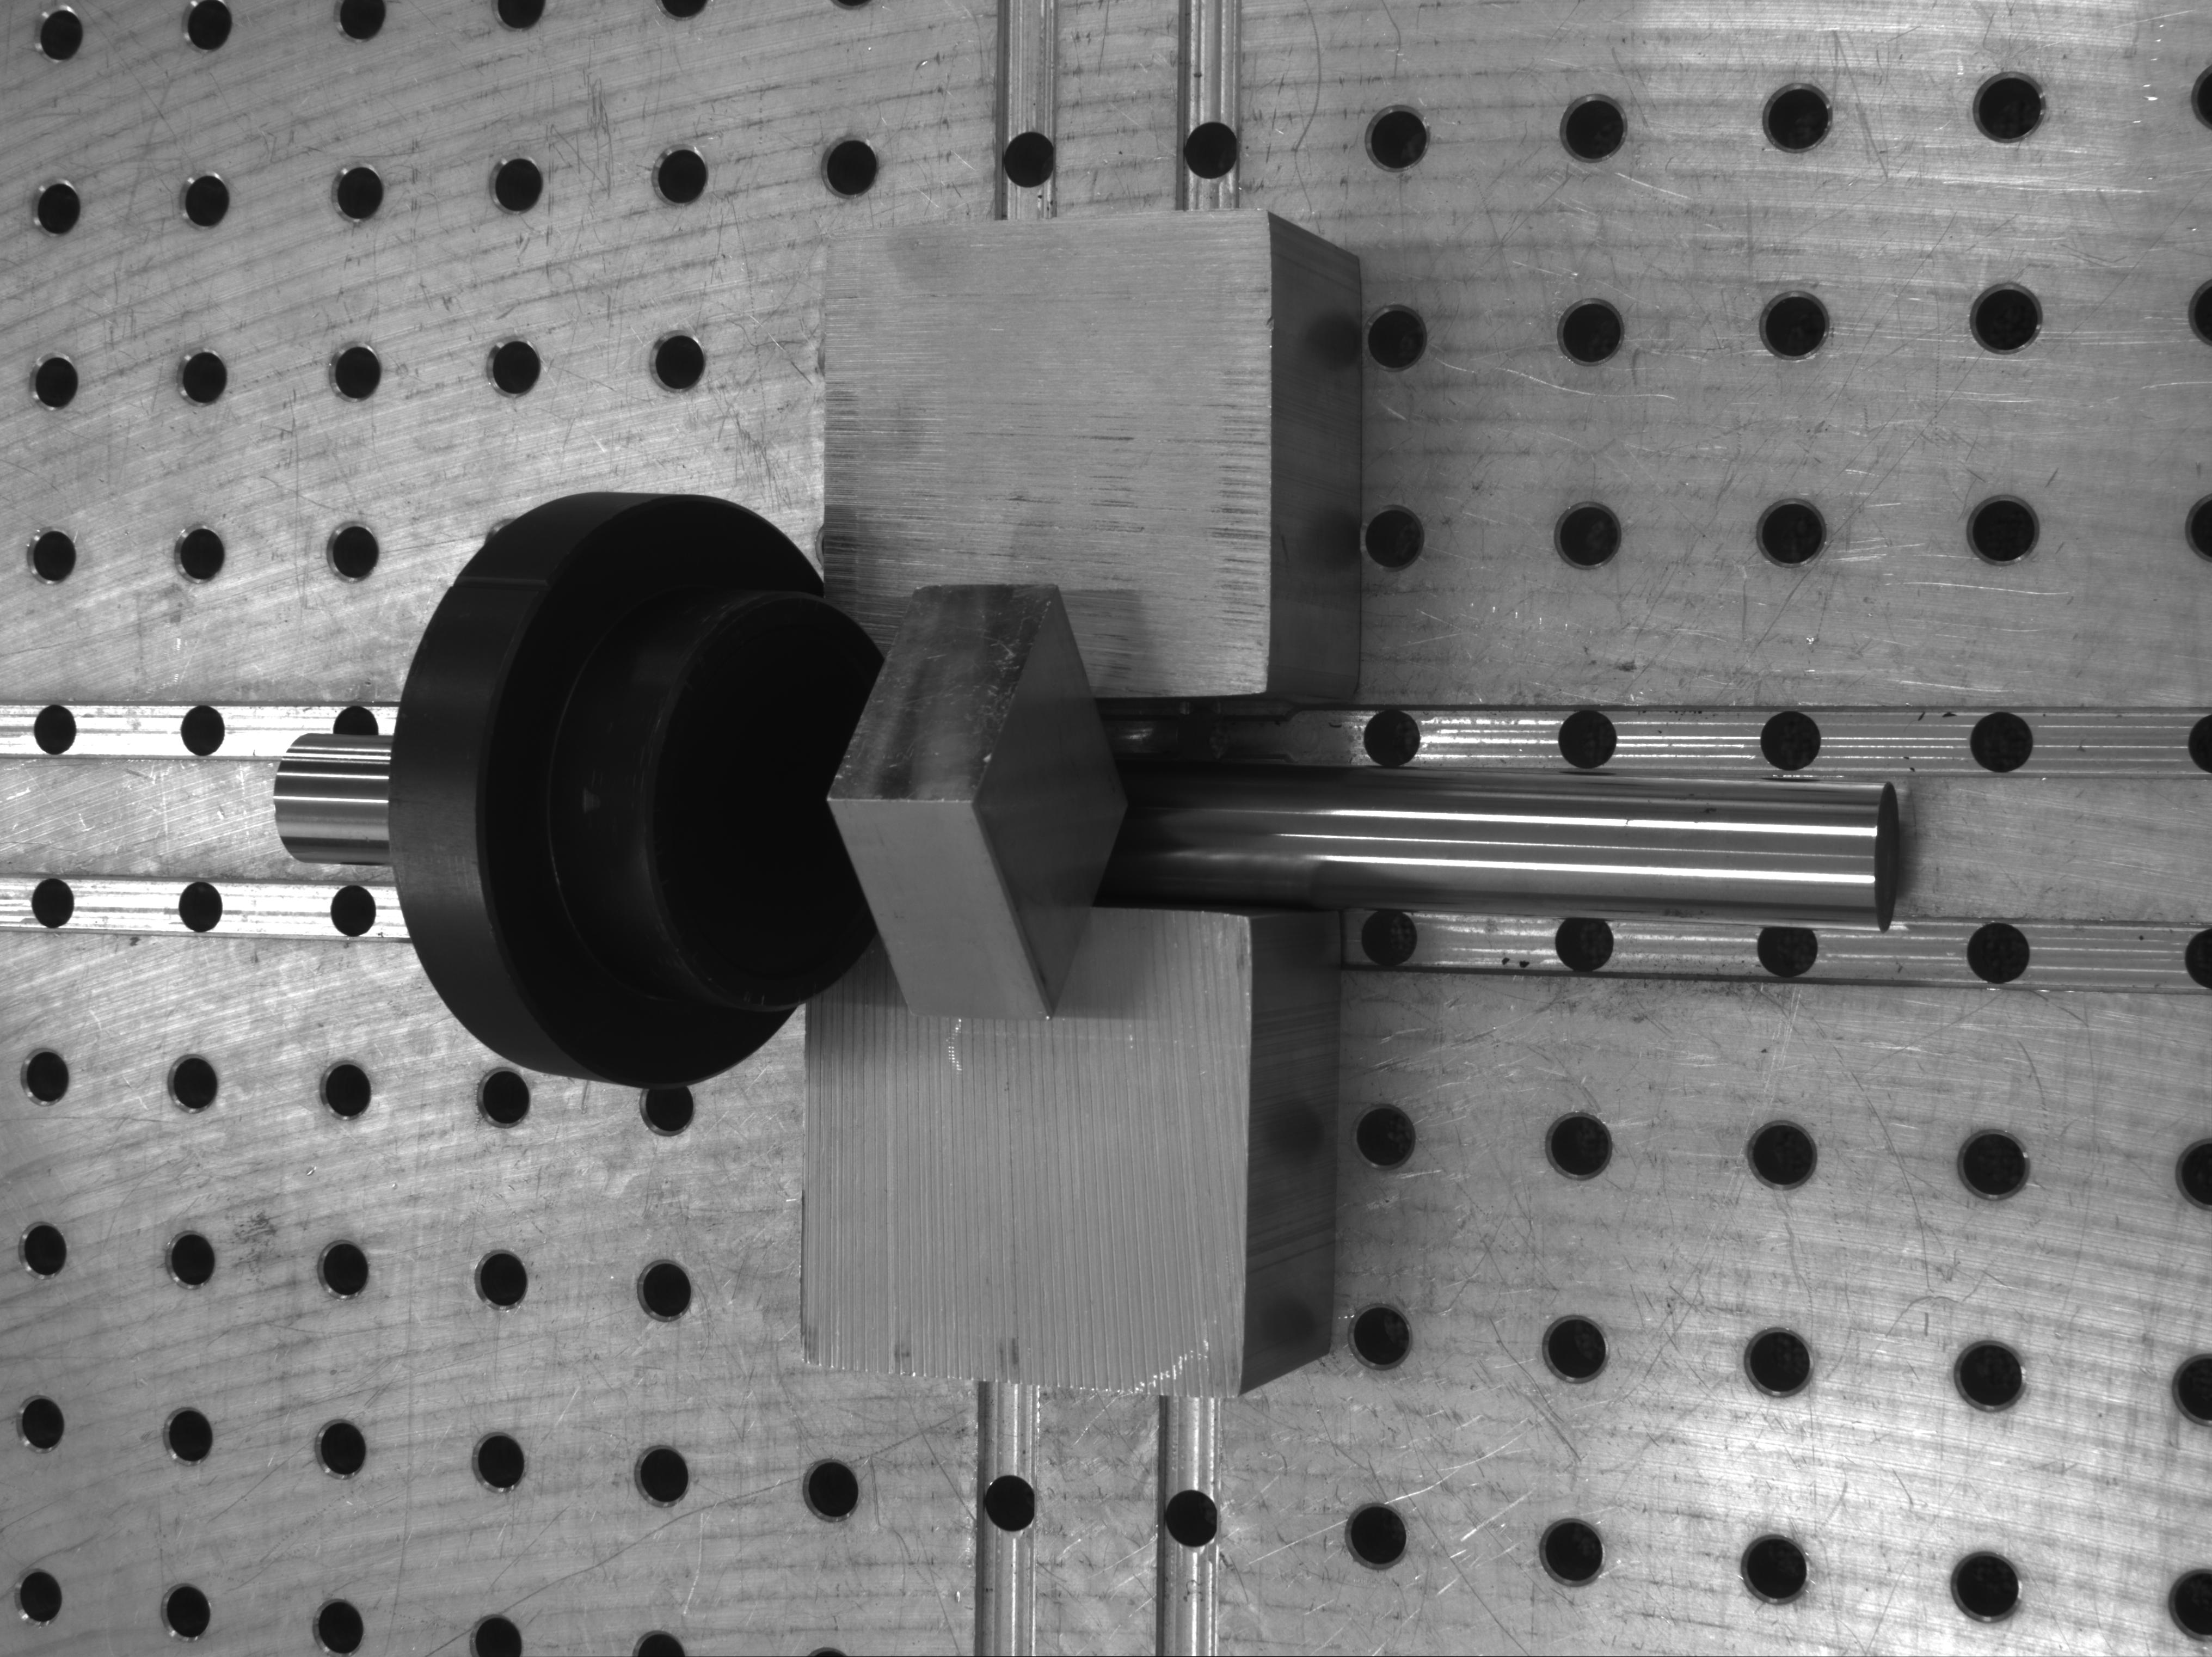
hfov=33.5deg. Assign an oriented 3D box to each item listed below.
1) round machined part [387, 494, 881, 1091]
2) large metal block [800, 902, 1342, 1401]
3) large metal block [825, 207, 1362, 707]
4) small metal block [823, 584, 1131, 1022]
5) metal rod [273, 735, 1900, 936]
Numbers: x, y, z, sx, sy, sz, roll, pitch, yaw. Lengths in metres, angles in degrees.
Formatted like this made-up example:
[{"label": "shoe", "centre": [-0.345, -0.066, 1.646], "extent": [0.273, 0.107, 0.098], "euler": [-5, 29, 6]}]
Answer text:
[{"label": "round machined part", "centre": [-0.068, -0.006, 0.605], "extent": [0.042, 0.098, 0.098], "euler": [5, 92, 35]}, {"label": "large metal block", "centre": [-0.005, 0.053, 0.638], "extent": [0.080, 0.050, 0.080], "euler": [1, 90, 20]}, {"label": "large metal block", "centre": [-0.002, -0.062, 0.637], "extent": [0.080, 0.050, 0.080], "euler": [1, 90, 20]}, {"label": "small metal block", "centre": [-0.020, -0.004, 0.597], "extent": [0.025, 0.050, 0.050], "euler": [1, 46, 20]}, {"label": "metal rod", "centre": [-0.012, 0.000, 0.654], "extent": [0.299, 0.025, 0.025], "euler": [2, 91, 20]}]
